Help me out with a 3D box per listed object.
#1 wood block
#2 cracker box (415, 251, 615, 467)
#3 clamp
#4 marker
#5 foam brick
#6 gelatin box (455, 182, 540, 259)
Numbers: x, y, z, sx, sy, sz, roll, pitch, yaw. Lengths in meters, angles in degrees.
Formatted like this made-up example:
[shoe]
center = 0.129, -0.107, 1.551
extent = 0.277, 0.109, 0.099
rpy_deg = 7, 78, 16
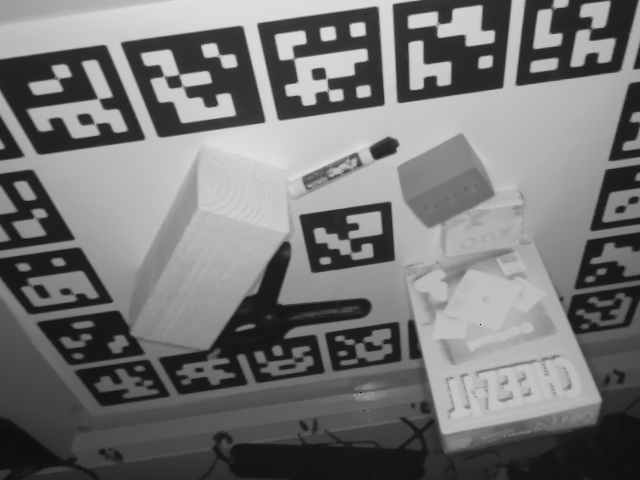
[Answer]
[wood block]
center = -0.100, 0.012, 0.708
extent = 0.091, 0.091, 0.203
rpy_deg = 16, 131, -24
[cracker box]
center = 0.201, 0.121, 0.753
extent = 0.164, 0.215, 0.071
rpy_deg = -10, 134, 5
[clamp]
center = -0.043, 0.098, 0.826
extent = 0.200, 0.037, 0.166
rpy_deg = -33, 128, 21
[marker]
center = 0.048, -0.081, 0.684
extent = 0.120, 0.020, 0.020
rpy_deg = -24, 129, 14
[foam brick]
center = 0.142, -0.063, 0.693
extent = 0.077, 0.052, 0.053
rpy_deg = -28, 128, 18
[gelatin box]
center = 0.193, -0.020, 0.758
extent = 0.089, 0.030, 0.073
rpy_deg = -10, 131, 2
